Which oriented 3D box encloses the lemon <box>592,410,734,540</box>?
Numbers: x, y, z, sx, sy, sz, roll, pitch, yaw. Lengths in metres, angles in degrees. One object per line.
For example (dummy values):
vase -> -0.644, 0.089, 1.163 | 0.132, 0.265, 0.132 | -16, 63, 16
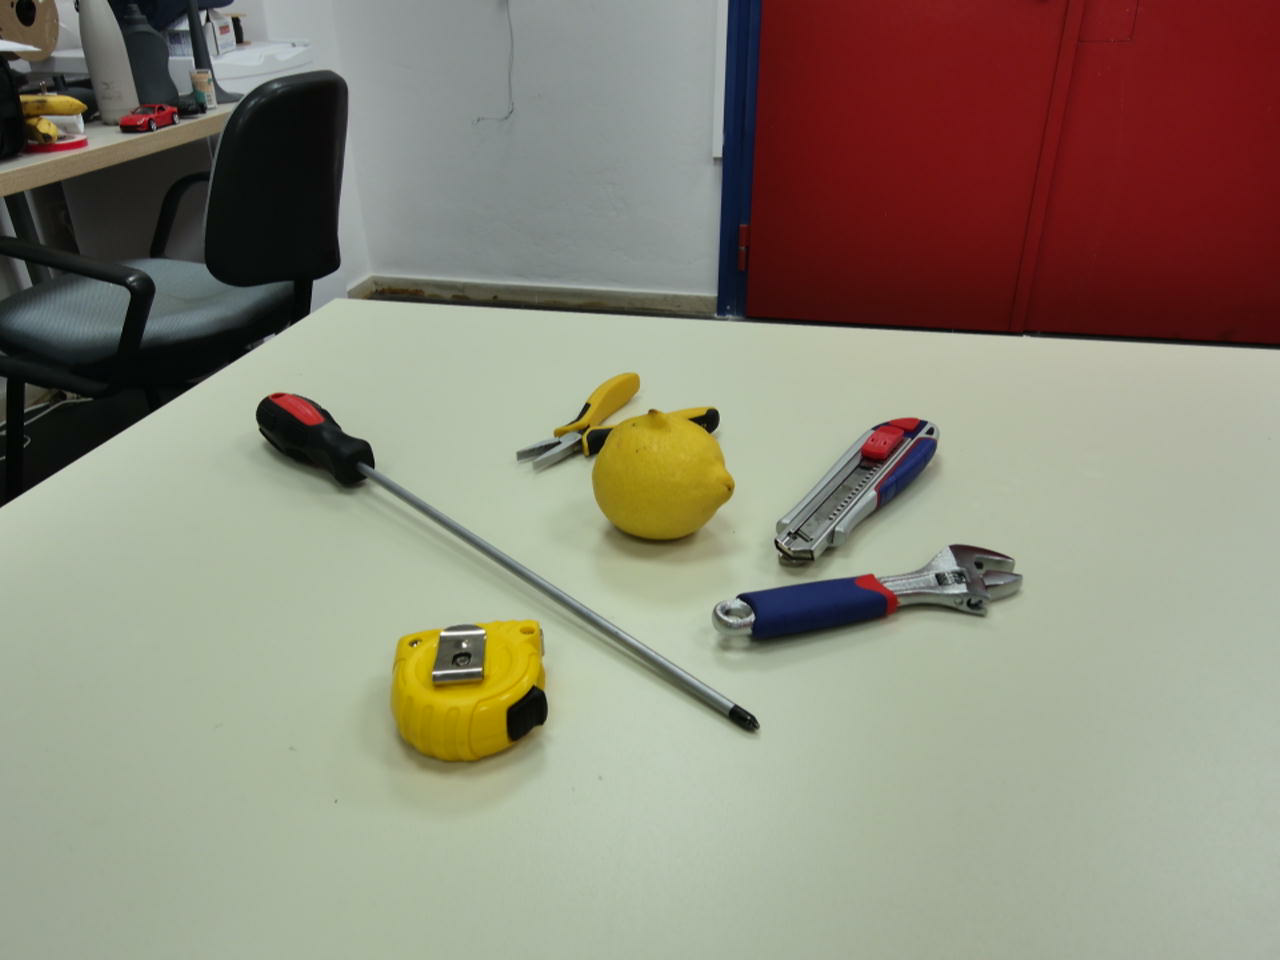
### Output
lemon -> 0.010, -0.005, 0.534 | 0.070, 0.071, 0.071 | -11, 27, -19
